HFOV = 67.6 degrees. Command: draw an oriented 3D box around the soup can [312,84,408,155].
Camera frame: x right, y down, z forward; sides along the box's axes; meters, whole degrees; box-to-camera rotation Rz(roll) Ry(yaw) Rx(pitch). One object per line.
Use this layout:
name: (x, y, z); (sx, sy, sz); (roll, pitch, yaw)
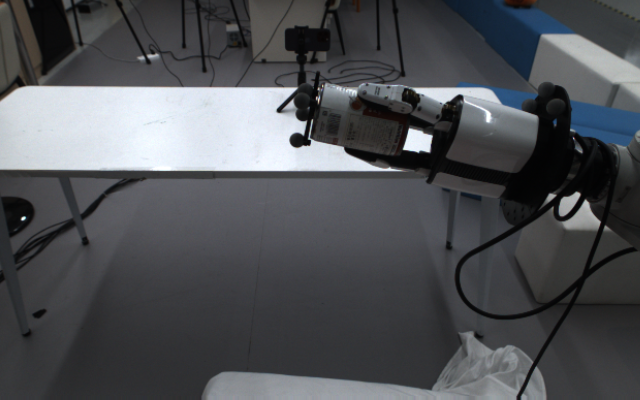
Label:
soup can: (0.047, -0.091, 0.548); (0.101, 0.067, 0.067); (11, 35, -2)
